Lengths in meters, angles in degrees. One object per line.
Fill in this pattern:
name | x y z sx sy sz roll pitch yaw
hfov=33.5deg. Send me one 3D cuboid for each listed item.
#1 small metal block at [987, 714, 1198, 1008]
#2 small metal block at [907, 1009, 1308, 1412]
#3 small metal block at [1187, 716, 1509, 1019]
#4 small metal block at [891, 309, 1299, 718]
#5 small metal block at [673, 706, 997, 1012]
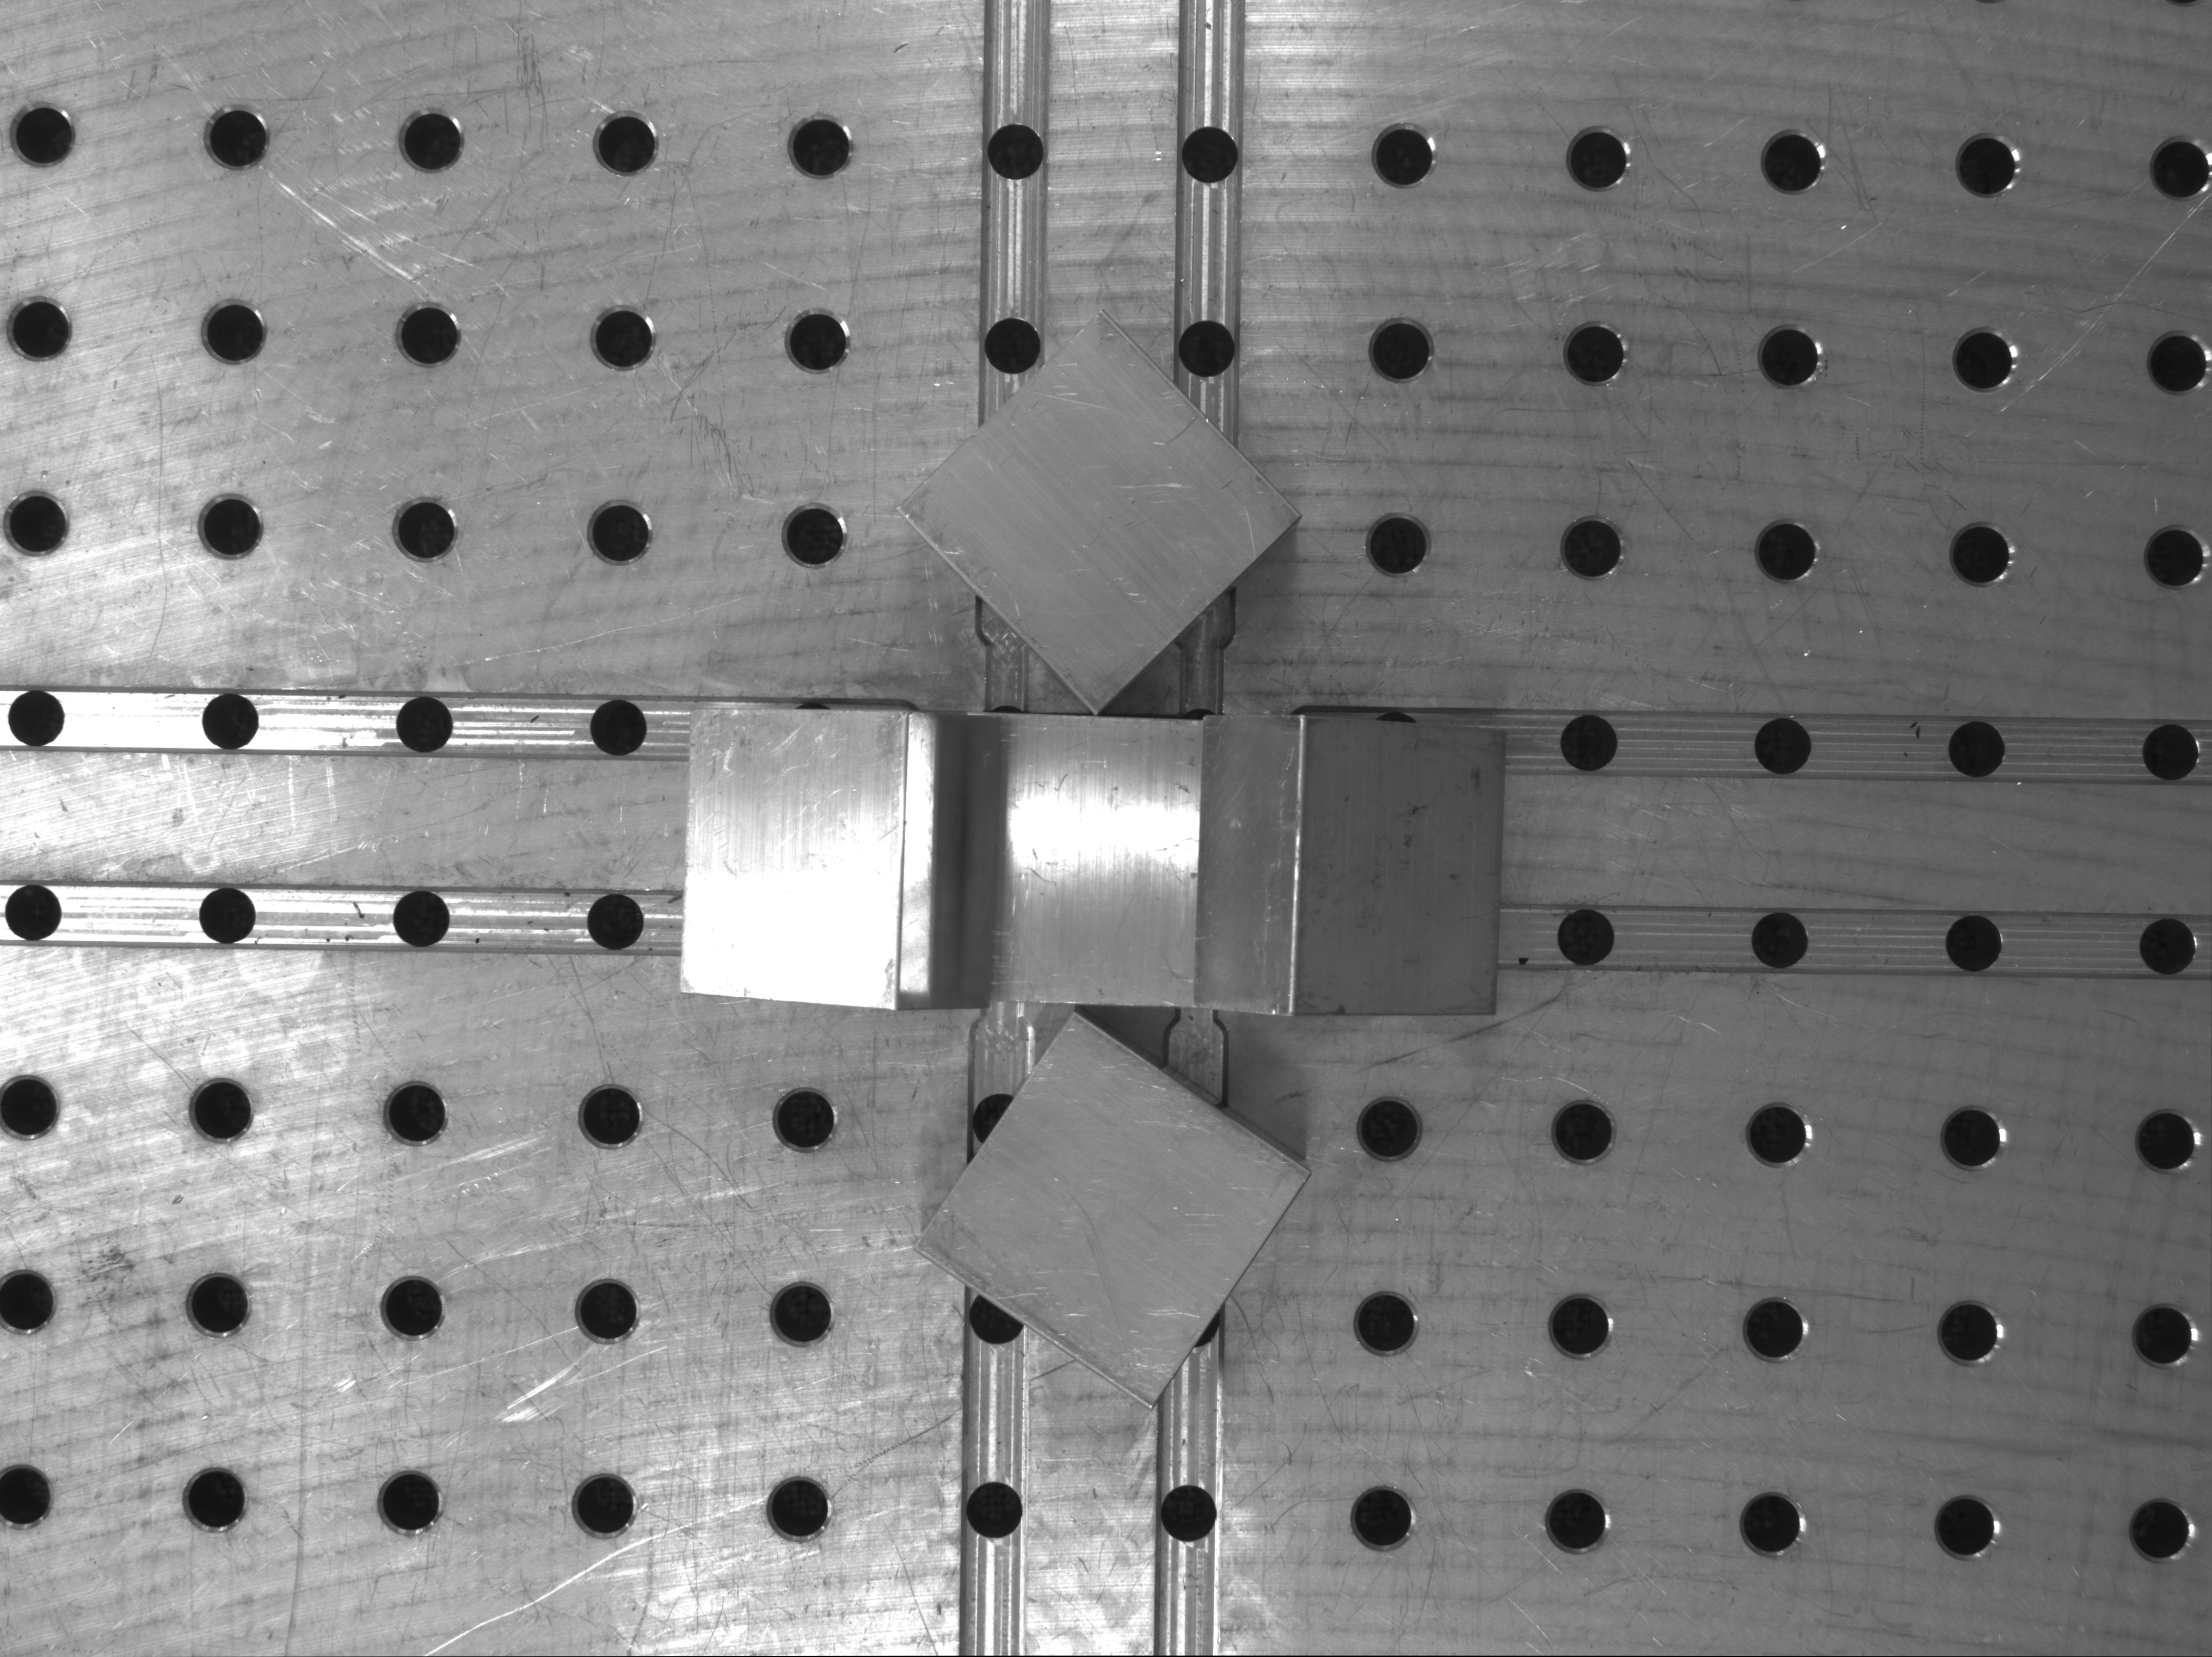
small metal block | -0.001 0.006 0.648 0.050 0.025 0.050 1 89 0
small metal block | 0.001 0.066 0.648 0.050 0.025 0.050 34 91 1
small metal block | 0.042 0.007 0.635 0.050 0.025 0.050 3 90 -40
small metal block | -0.002 -0.054 0.648 0.050 0.025 0.050 -44 89 -1
small metal block | -0.047 0.005 0.636 0.050 0.025 0.050 3 91 37
